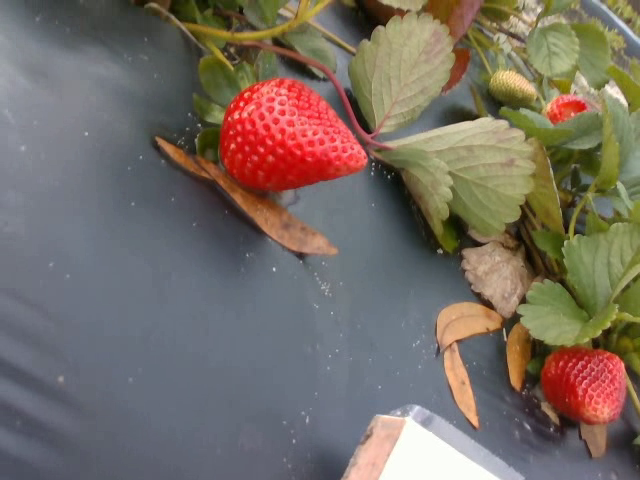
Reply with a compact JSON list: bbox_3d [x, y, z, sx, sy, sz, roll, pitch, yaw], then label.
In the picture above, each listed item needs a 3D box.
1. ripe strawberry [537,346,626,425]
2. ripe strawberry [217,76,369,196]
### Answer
[{"bbox_3d":[0.111,0.063,0.248,0.037,0.041,0.042,-40,9,19],"label":"ripe strawberry"},{"bbox_3d":[-0.006,-0.033,0.219,0.065,0.047,0.043,23,-24,38],"label":"ripe strawberry"}]
